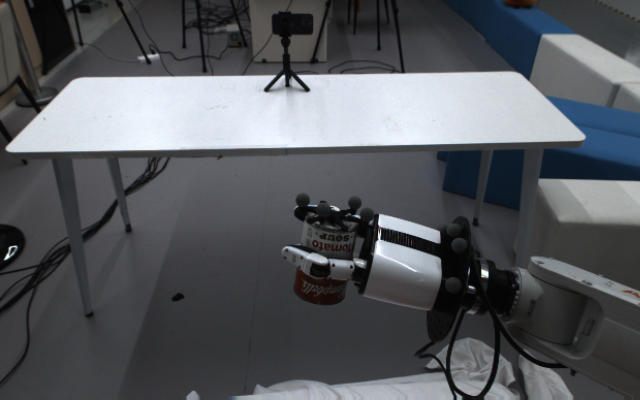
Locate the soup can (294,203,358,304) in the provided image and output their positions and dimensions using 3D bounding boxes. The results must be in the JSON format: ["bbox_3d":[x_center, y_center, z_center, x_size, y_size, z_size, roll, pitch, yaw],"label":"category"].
[{"bbox_3d":[0.009,0.071,0.604,0.067,0.101,0.067,8,19,-3],"label":"soup can"}]
